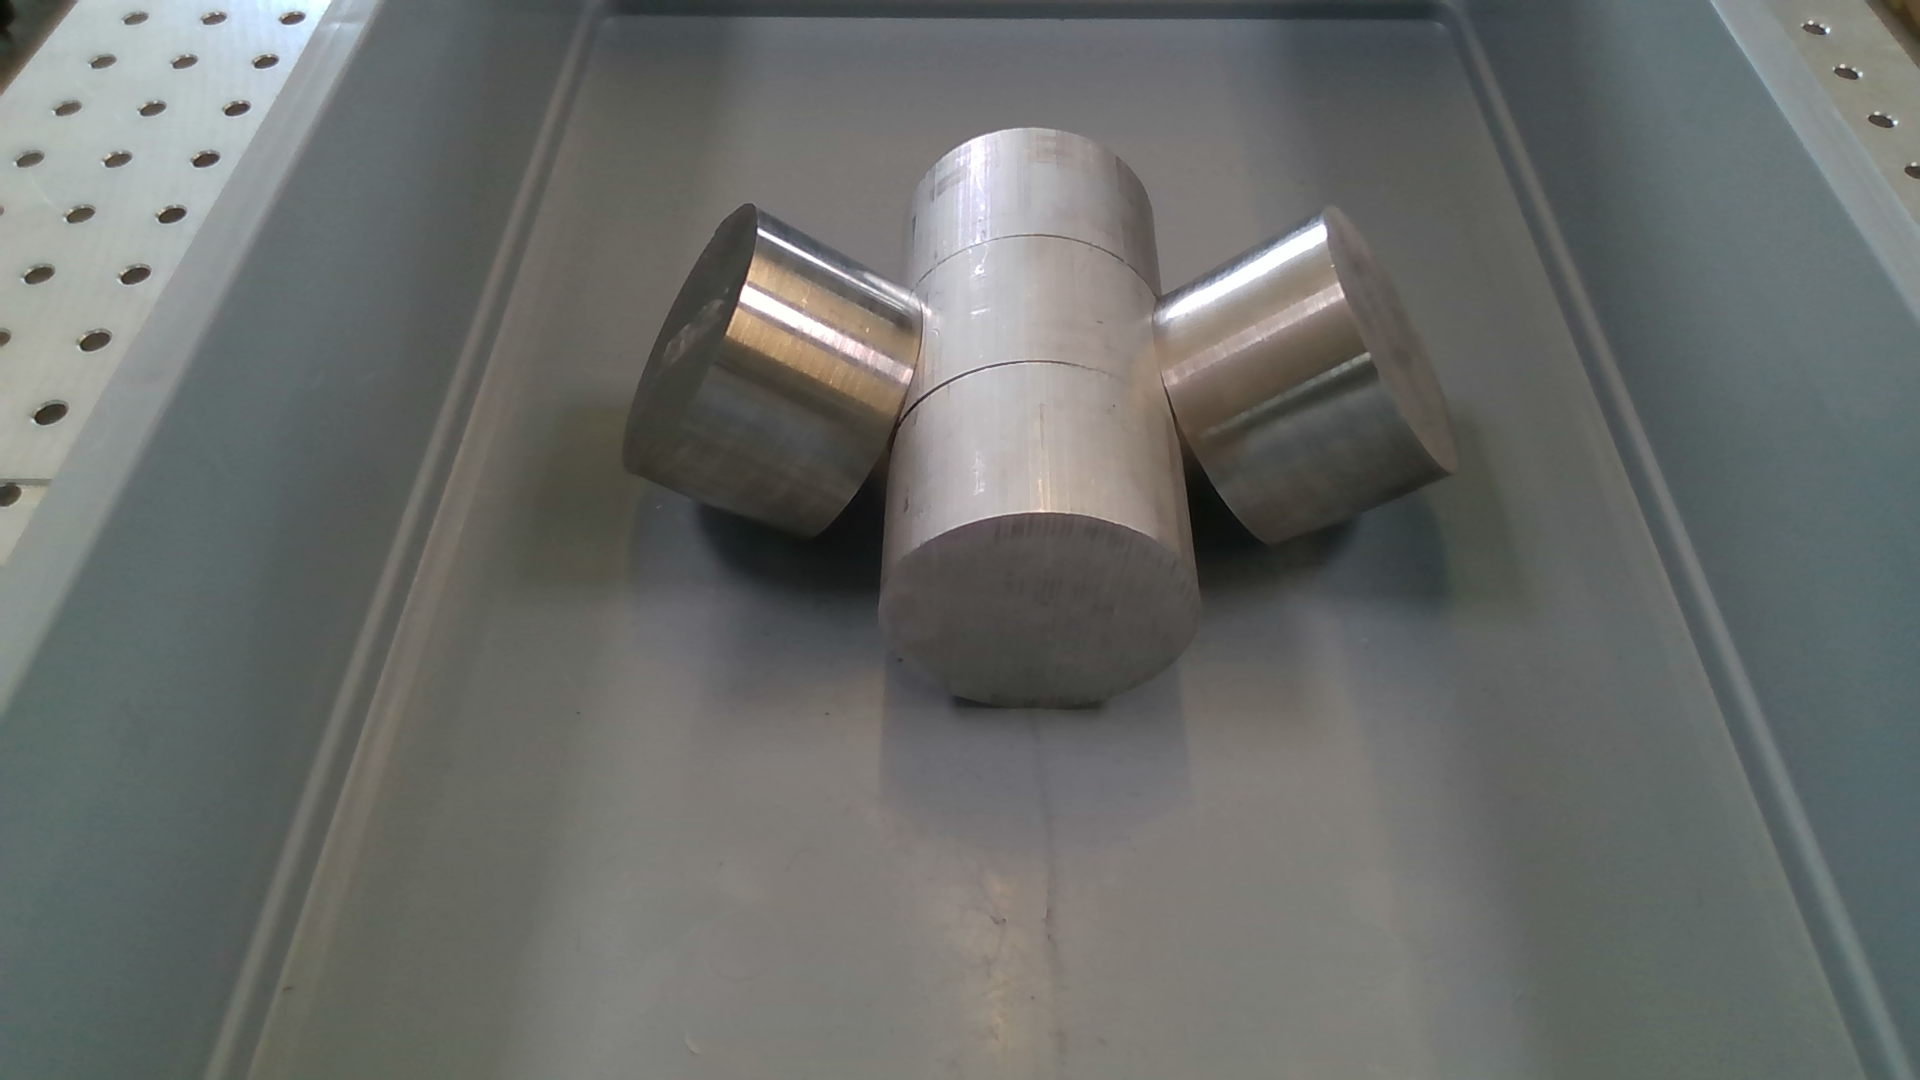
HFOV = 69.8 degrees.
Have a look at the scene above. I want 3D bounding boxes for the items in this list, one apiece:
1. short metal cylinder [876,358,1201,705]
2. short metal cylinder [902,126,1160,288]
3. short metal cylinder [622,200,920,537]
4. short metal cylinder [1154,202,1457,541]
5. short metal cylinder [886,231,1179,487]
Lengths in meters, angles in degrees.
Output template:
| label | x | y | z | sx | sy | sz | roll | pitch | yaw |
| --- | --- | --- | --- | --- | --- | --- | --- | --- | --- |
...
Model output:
| label | x | y | z | sx | sy | sz | roll | pitch | yaw |
| --- | --- | --- | --- | --- | --- | --- | --- | --- | --- |
| short metal cylinder | 0.020 | 0.000 | 0.357 | 0.080 | 0.080 | 0.050 | 1 | 50 | 1 |
| short metal cylinder | 0.021 | -0.077 | 0.421 | 0.080 | 0.080 | 0.050 | 1 | 50 | 1 |
| short metal cylinder | -0.054 | -0.047 | 0.386 | 0.050 | 0.080 | 0.080 | 24 | 45 | -25 |
| short metal cylinder | 0.097 | -0.046 | 0.385 | 0.050 | 0.080 | 0.080 | -25 | 43 | 29 |
| short metal cylinder | 0.020 | -0.039 | 0.389 | 0.080 | 0.080 | 0.050 | 1 | 50 | 1 |
